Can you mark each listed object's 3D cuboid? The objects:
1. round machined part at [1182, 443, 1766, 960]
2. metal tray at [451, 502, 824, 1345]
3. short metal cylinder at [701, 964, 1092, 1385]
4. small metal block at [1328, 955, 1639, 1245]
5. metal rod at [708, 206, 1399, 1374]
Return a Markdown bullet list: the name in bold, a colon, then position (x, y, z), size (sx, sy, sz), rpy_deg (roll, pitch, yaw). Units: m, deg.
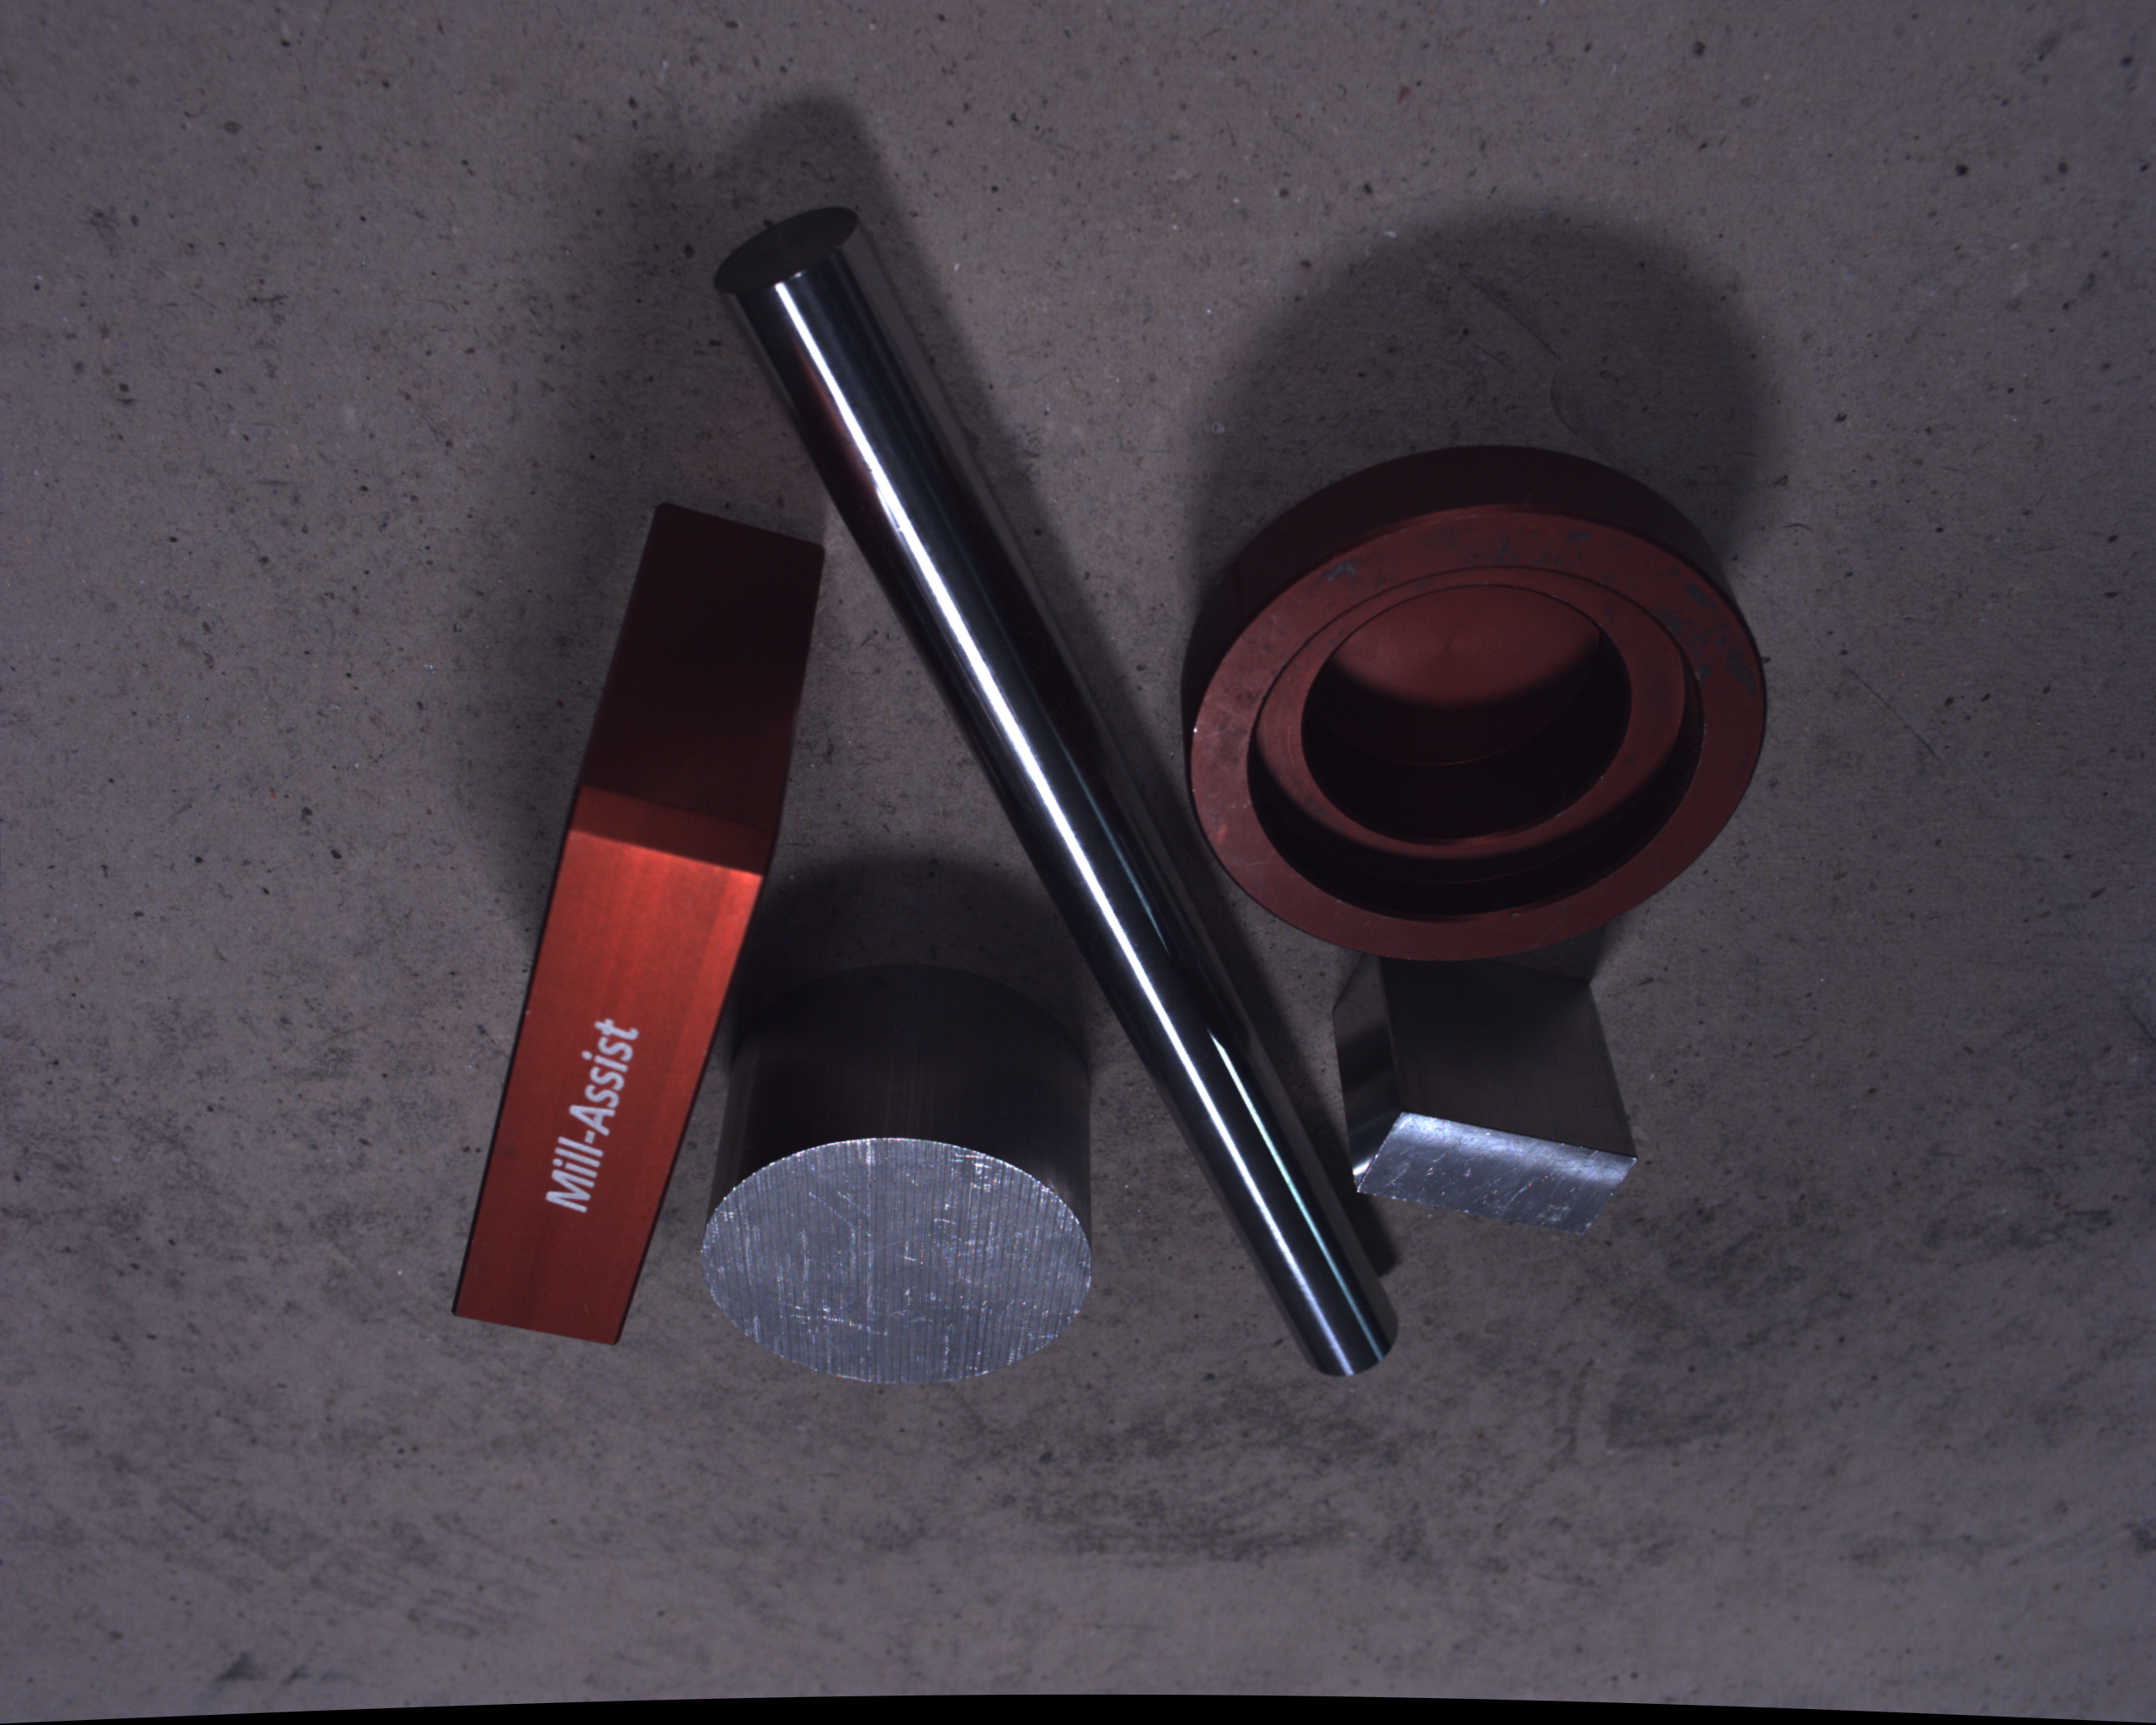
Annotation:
- **round machined part**: position (0.067, -0.032, 0.371), size (0.099, 0.042, 0.097), rpy_deg (-1, 130, 0)
- **metal tray**: position (-0.080, 0.013, 0.376), size (0.030, 0.090, 0.129), rpy_deg (14, 129, -12)
- **short metal cylinder**: position (-0.037, 0.068, 0.449), size (0.081, 0.050, 0.079), rpy_deg (0, 130, 0)
- **small metal block**: position (0.082, 0.047, 0.430), size (0.050, 0.050, 0.025), rpy_deg (13, 129, -11)
- **metal rod**: position (0.010, 0.009, 0.417), size (0.025, 0.025, 0.299), rpy_deg (-18, 128, 14)
